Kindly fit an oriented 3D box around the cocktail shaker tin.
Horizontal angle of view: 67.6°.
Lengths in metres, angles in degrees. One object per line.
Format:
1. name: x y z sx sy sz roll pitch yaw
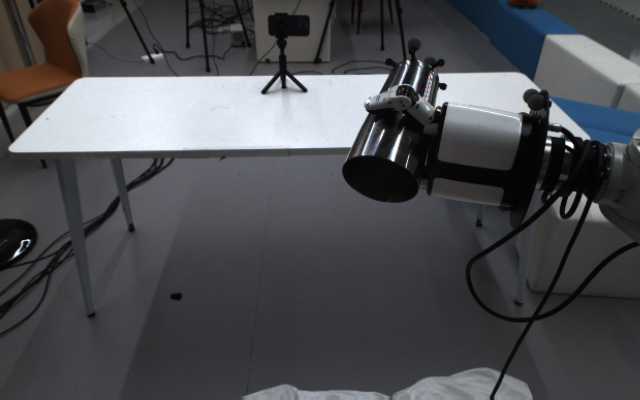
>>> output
1. cocktail shaker tin: 0.096 -0.092 0.599 0.093 0.093 0.170 14 61 17
